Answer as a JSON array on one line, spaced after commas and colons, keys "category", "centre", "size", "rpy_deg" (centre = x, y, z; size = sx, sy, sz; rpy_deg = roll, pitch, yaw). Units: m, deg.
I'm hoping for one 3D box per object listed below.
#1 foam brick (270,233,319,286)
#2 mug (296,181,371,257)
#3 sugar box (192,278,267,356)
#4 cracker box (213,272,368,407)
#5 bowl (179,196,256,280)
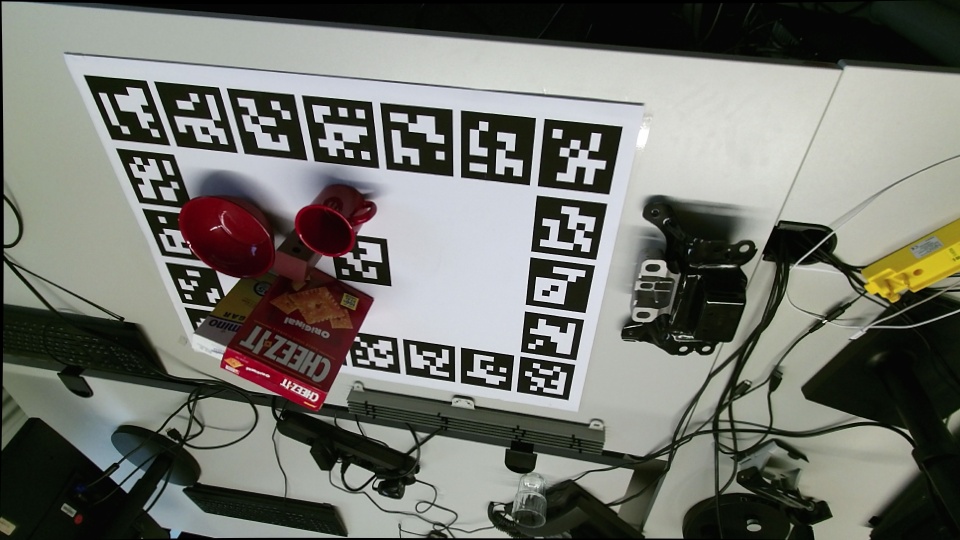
[{"category": "foam brick", "centre": [-0.303, -0.023, 0.880], "size": [0.053, 0.078, 0.051], "rpy_deg": [19, 128, -3]}, {"category": "mug", "centre": [-0.220, -0.081, 0.807], "size": [0.117, 0.081, 0.093], "rpy_deg": [-1, 134, 10]}, {"category": "sugar box", "centre": [-0.409, 0.088, 0.917], "size": [0.093, 0.176, 0.045], "rpy_deg": [24, 127, -7]}, {"category": "cracker box", "centre": [-0.302, 0.102, 0.883], "size": [0.165, 0.213, 0.072], "rpy_deg": [31, 128, -11]}, {"category": "bowl", "centre": [-0.423, -0.061, 0.872], "size": [0.162, 0.055, 0.161], "rpy_deg": [6, 126, 8]}]
